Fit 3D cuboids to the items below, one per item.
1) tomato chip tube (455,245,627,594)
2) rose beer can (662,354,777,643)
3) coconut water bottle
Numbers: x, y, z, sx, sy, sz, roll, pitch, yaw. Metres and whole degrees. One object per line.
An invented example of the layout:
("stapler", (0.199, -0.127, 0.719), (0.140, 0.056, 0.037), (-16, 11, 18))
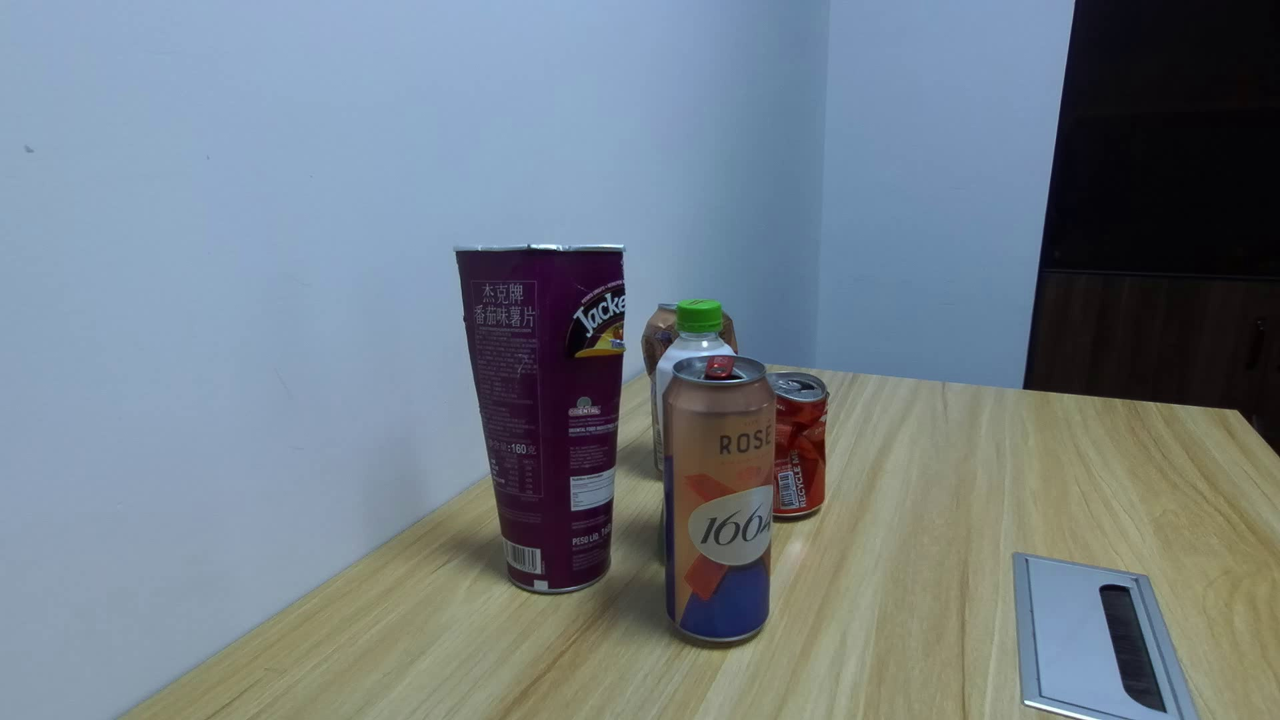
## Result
("tomato chip tube", (-0.060, 0.040, 0.484), (0.078, 0.236, 0.089), (-14, 18, -37))
("rose beer can", (0.048, 0.086, 0.431), (0.068, 0.169, 0.068), (0, 17, 0))
("coconut water bottle", (0.042, 0.054, 0.500), (0.063, 0.188, 0.063), (0, 12, 0))
